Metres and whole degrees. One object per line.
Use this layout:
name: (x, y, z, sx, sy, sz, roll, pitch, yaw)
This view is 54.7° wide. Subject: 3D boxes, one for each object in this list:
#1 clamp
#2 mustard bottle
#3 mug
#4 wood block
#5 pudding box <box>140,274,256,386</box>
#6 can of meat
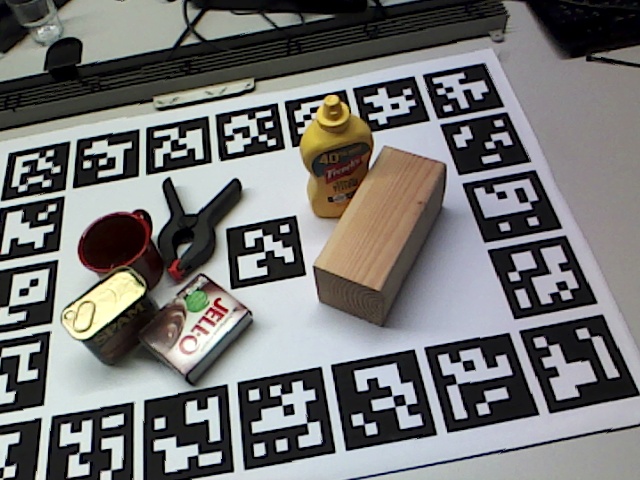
clamp: (-0.182, -0.024, 0.874, 0.122, 0.036, 0.165, 6, 60, 9)
mustard bottle: (0.019, -0.112, 0.805, 0.096, 0.191, 0.059, -16, 57, -2)
mug: (-0.257, 0.023, 0.849, 0.093, 0.081, 0.117, 8, 60, 12)
wood block: (0.082, -0.005, 0.793, 0.090, 0.090, 0.206, 20, 60, 21)
pudding box: (-0.150, 0.111, 0.775, 0.090, 0.038, 0.113, 33, 65, 25)
can of meat: (-0.253, 0.097, 0.765, 0.101, 0.083, 0.058, -38, 61, -16)
